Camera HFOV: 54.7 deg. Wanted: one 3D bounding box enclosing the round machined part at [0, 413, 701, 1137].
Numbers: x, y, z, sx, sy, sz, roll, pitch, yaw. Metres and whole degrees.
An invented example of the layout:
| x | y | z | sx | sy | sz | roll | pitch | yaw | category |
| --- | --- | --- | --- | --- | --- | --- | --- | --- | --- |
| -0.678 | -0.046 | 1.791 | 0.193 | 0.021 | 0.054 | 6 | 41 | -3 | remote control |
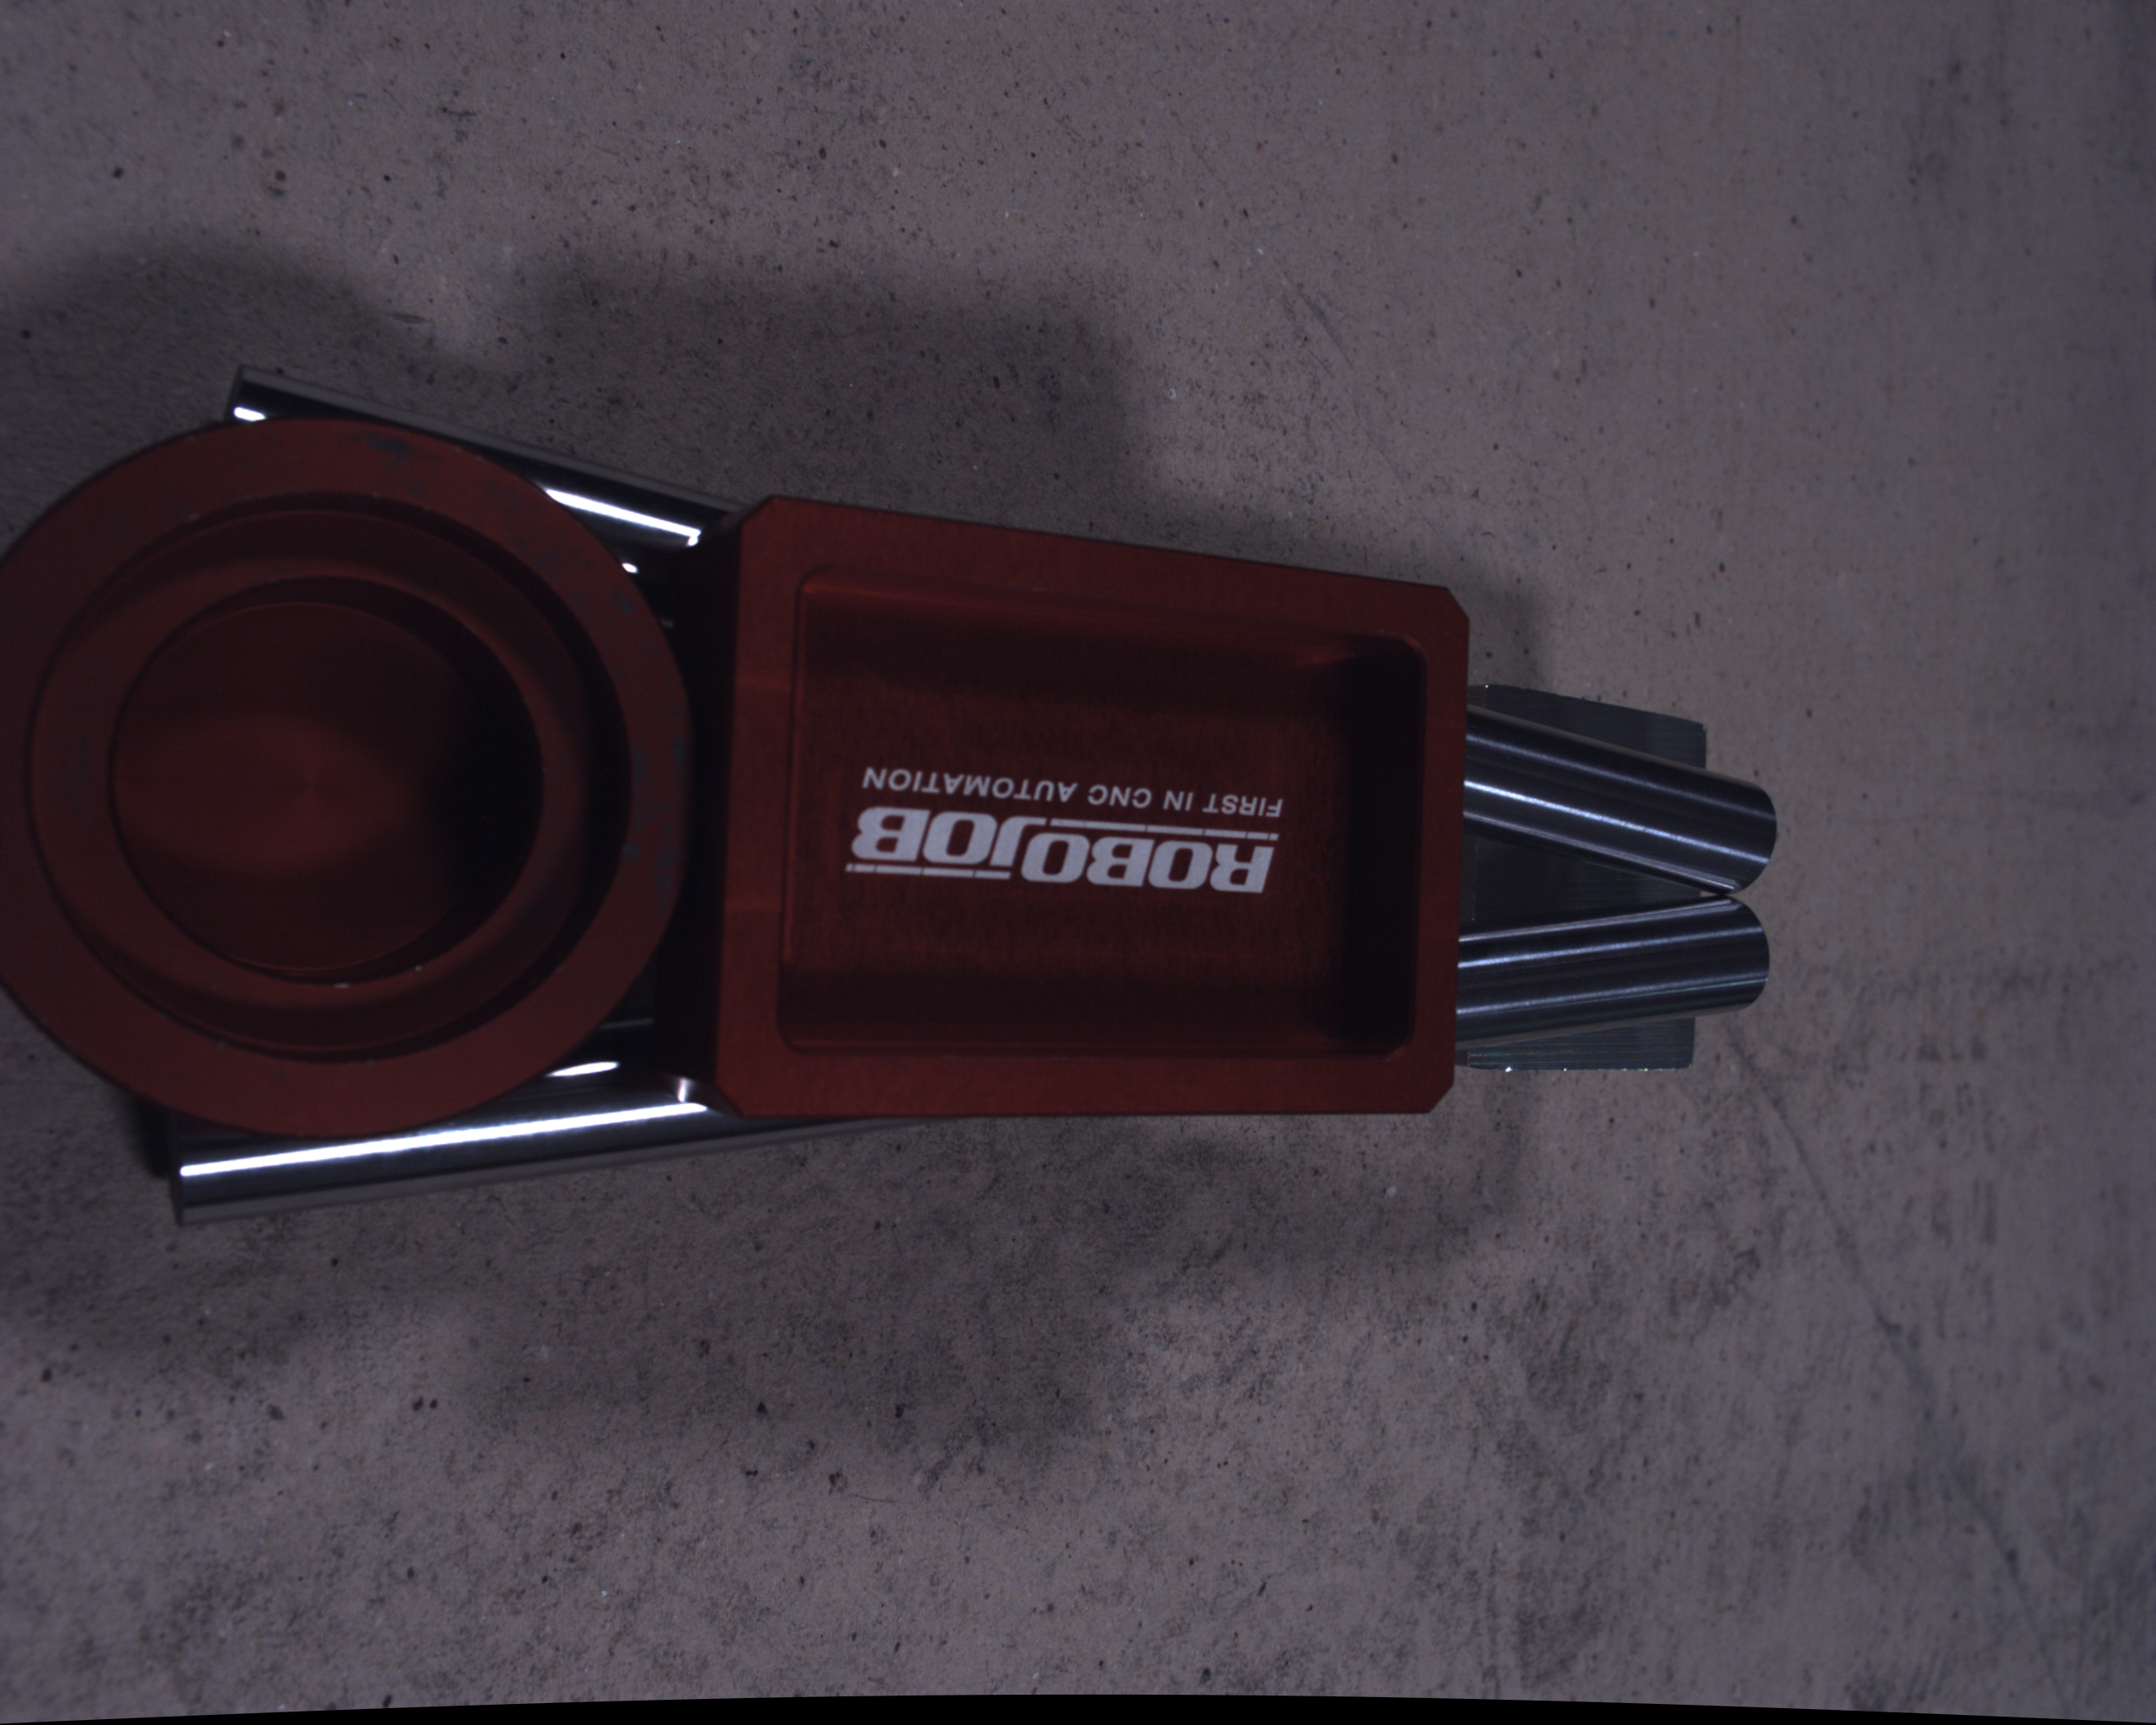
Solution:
| x | y | z | sx | sy | sz | roll | pitch | yaw | category |
| --- | --- | --- | --- | --- | --- | --- | --- | --- | --- |
| -0.108 | -0.012 | 0.298 | 0.099 | 0.042 | 0.097 | 0 | 90 | -30 | round machined part |

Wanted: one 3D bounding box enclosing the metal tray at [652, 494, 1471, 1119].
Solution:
| x | y | z | sx | sy | sz | roll | pitch | yaw | category |
| --- | --- | --- | --- | --- | --- | --- | --- | --- | --- |
| 0.001 | -0.005 | 0.338 | 0.131 | 0.030 | 0.089 | 3 | 88 | -28 | metal tray |

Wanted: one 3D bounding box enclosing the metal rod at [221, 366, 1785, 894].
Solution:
| x | y | z | sx | sy | sz | roll | pitch | yaw | category |
| --- | --- | --- | --- | --- | --- | --- | --- | --- | --- |
| 0.008 | -0.033 | 0.372 | 0.302 | 0.025 | 0.025 | 12 | 82 | -27 | metal rod |

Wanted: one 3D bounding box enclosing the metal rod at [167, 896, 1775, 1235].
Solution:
| x | y | z | sx | sy | sz | roll | pitch | yaw | category |
| --- | --- | --- | --- | --- | --- | --- | --- | --- | --- |
| 0.004 | 0.030 | 0.370 | 0.303 | 0.025 | 0.025 | -5 | 93 | -28 | metal rod |

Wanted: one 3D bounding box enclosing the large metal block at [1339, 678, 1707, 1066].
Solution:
| x | y | z | sx | sy | sz | roll | pitch | yaw | category |
| --- | --- | --- | --- | --- | --- | --- | --- | --- | --- |
| 0.096 | 0.004 | 0.471 | 0.081 | 0.050 | 0.080 | 5 | 87 | -40 | large metal block |
